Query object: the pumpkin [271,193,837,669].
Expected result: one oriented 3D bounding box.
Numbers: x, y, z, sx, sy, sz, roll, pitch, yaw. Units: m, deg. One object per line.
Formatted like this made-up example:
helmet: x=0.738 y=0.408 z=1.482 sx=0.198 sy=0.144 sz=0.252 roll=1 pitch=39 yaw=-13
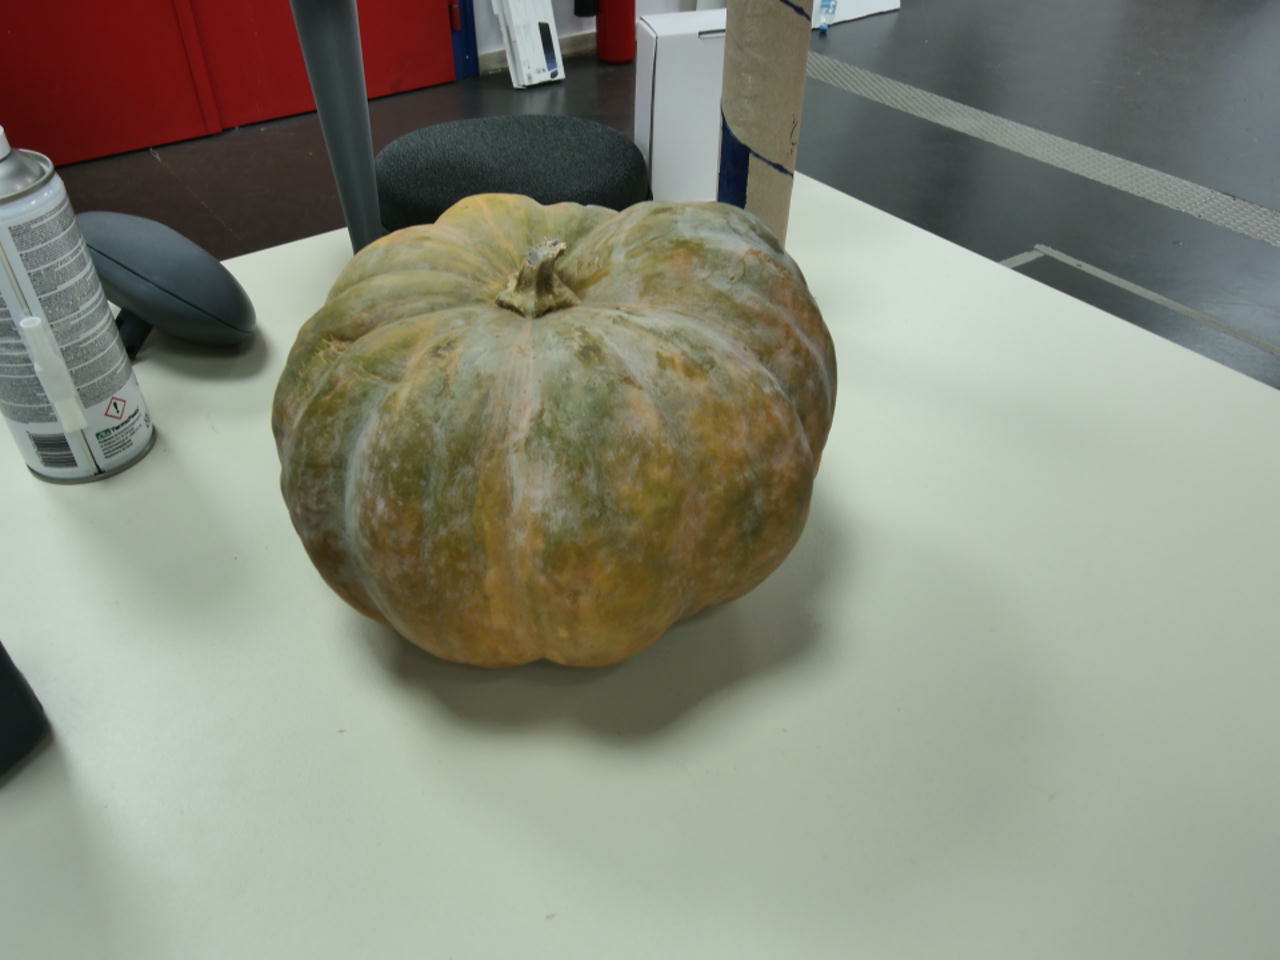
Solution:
pumpkin: x=-0.039 y=-0.029 z=0.449 sx=0.252 sy=0.169 sz=0.251 roll=0 pitch=38 yaw=0
